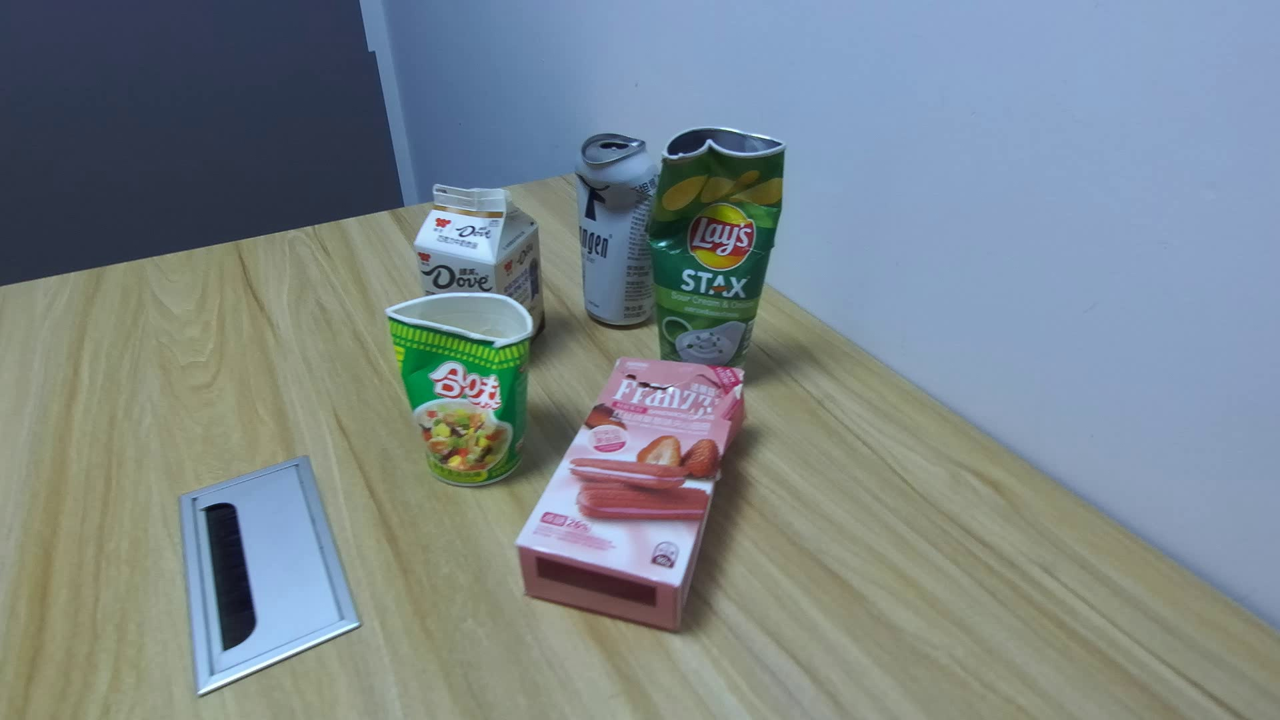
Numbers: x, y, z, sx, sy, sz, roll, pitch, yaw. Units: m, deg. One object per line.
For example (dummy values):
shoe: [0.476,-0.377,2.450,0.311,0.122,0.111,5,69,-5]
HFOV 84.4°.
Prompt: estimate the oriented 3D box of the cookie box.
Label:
cookie box: [0.002,0.076,0.457,0.105,0.059,0.186,9,40,16]

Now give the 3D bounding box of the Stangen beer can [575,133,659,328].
Stangen beer can: [-0.020,-0.110,0.618,0.077,0.162,0.066,2,34,4]

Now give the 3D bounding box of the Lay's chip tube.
Lay's chip tube: [0.052,-0.069,0.530,0.077,0.201,0.069,-19,40,-22]

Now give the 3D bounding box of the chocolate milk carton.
chocolate milk carton: [-0.129,-0.075,0.580,0.075,0.148,0.074,14,40,16]

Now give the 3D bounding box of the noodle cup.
noodle cup: [-0.115,0.022,0.481,0.075,0.122,0.082,-18,31,-35]
